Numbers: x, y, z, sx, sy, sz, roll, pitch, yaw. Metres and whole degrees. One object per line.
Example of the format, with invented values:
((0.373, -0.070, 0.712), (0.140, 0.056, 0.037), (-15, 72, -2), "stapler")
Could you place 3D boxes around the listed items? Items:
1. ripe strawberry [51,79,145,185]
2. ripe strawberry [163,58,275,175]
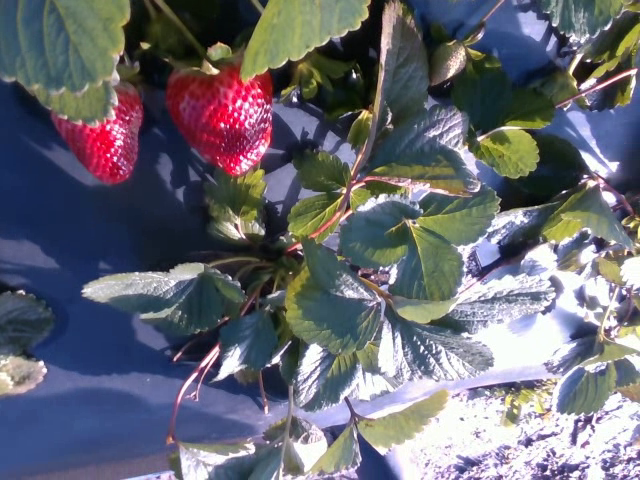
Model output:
((-0.094, -0.045, 0.259), (0.043, 0.052, 0.037), (-9, 26, 23), "ripe strawberry")
((-0.040, -0.054, 0.272), (0.052, 0.058, 0.046), (-7, 24, 15), "ripe strawberry")
